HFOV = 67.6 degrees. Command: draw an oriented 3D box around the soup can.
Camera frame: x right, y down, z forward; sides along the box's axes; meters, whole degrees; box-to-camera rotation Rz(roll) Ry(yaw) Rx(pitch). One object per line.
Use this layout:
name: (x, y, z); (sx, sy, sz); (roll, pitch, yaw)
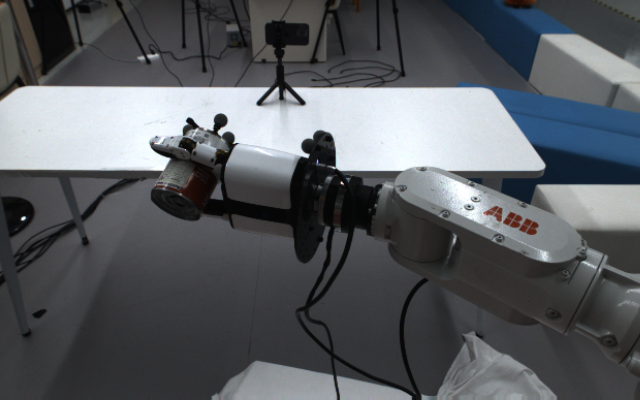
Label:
soup can: (-0.162, -0.033, 0.617); (0.067, 0.067, 0.101); (12, 59, 14)
